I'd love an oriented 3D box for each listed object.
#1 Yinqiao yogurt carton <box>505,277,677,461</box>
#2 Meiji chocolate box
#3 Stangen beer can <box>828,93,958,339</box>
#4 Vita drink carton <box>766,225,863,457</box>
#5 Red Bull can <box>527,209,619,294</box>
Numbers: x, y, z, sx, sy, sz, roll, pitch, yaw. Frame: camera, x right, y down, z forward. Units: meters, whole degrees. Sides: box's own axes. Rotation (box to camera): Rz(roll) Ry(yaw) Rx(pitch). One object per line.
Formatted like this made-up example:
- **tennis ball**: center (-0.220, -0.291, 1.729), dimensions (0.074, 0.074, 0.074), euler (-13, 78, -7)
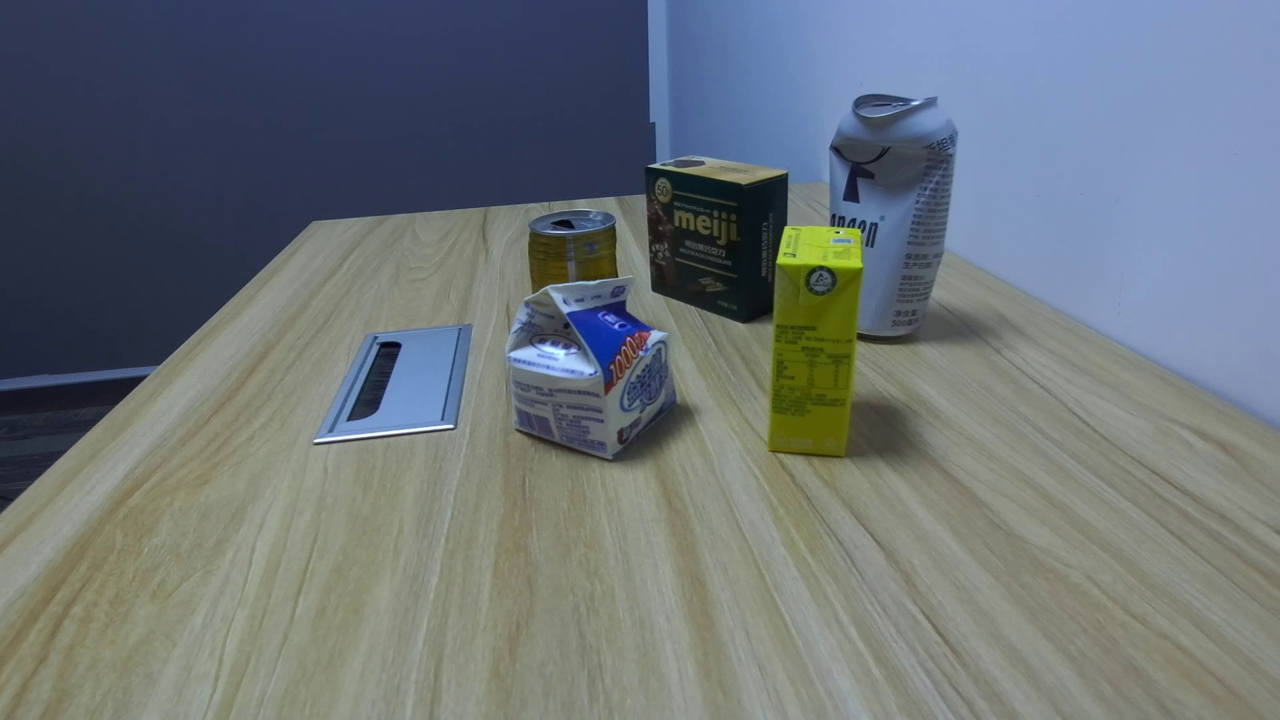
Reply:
- **Yinqiao yogurt carton**: center (-0.029, -0.006, 0.399), dimensions (0.077, 0.093, 0.083), euler (13, 30, 30)
- **Meiji chocolate box**: center (0.060, -0.098, 0.561), dimensions (0.056, 0.109, 0.109), euler (-23, 32, -35)
- **Stangen beer can**: center (0.169, -0.097, 0.490), dimensions (0.077, 0.162, 0.066), euler (2, 27, 11)
- **Vita drink carton**: center (0.094, -0.011, 0.378), dimensions (0.043, 0.109, 0.066), euler (4, 28, 14)
- **Red Bull can**: center (-0.045, -0.055, 0.505), dimensions (0.069, 0.092, 0.069), euler (-2, 27, 1)
